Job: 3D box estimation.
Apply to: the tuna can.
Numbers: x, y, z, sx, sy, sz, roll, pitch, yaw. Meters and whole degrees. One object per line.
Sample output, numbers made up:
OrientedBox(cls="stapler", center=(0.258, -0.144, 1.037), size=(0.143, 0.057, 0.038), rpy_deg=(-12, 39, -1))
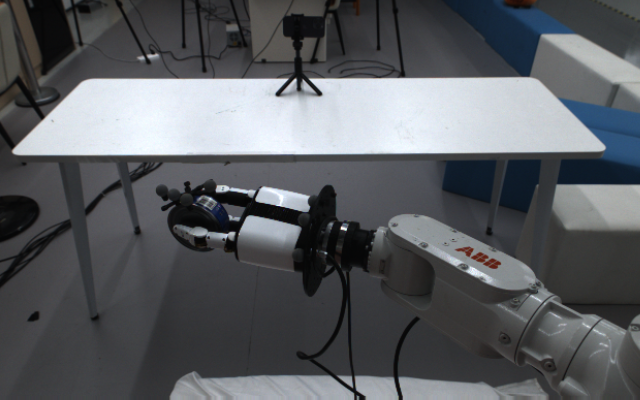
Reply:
OrientedBox(cls="tuna can", center=(-0.173, 0.036, 0.716), size=(0.085, 0.085, 0.034), rpy_deg=(9, 32, 10))
